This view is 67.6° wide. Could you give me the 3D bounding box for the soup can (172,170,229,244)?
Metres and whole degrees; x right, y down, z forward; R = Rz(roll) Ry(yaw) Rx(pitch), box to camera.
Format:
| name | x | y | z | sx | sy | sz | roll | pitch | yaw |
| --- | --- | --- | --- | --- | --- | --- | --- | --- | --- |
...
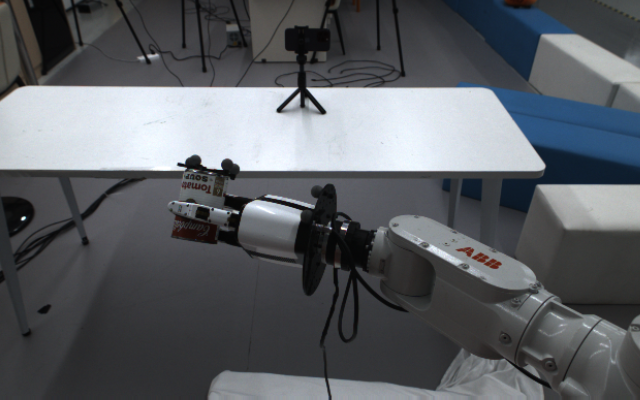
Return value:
| name | x | y | z | sx | sy | sz | roll | pitch | yaw |
| --- | --- | --- | --- | --- | --- | --- | --- | --- | --- |
| soup can | -0.177 | 0.012 | 0.717 | 0.067 | 0.101 | 0.067 | 9 | -5 | 1 |
